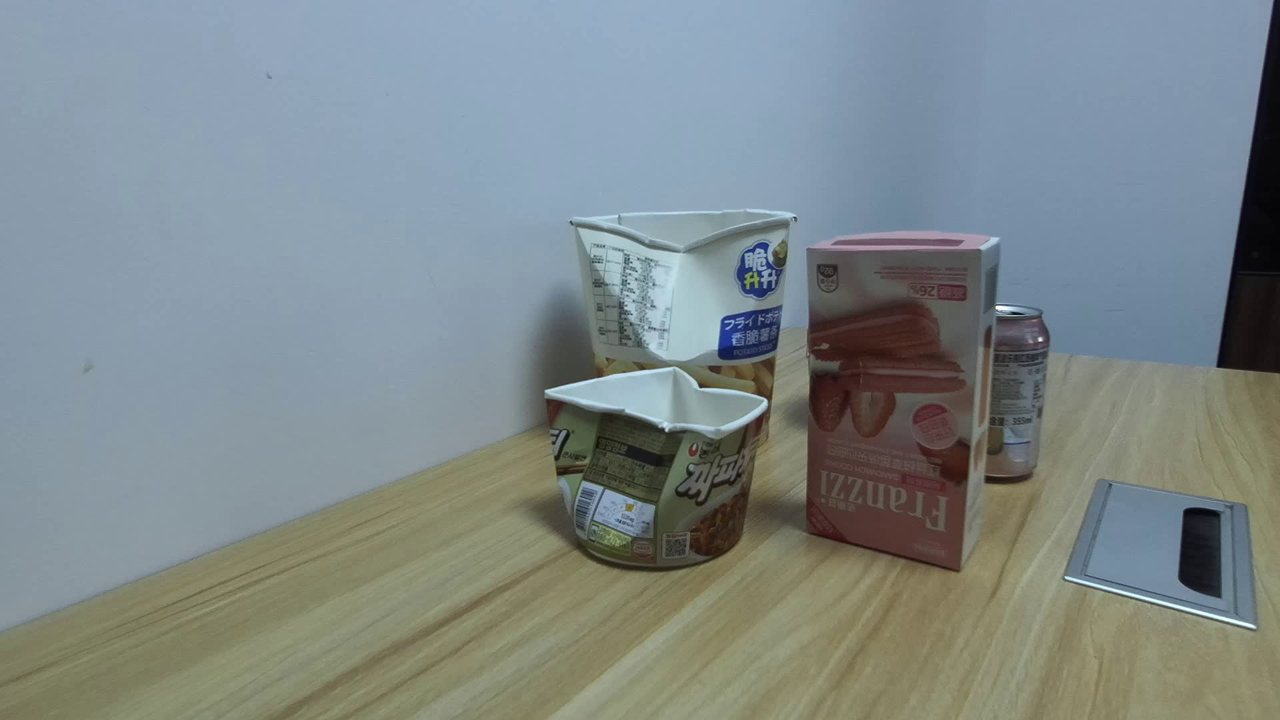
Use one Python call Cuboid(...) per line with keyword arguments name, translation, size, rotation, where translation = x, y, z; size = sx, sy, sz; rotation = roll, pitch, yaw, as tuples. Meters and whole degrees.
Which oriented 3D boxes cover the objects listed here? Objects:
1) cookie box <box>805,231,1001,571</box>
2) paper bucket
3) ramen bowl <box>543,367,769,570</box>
Cuboid(name="cookie box", translation=(0.148, 0.020, 0.419), size=(0.104, 0.187, 0.049), rotation=(8, 19, 35))
Cuboid(name="paper bucket", translation=(0.029, -0.027, 0.612), size=(0.163, 0.202, 0.168), rotation=(-8, 13, -12))
Cuboid(name="ramen bowl", translation=(0.014, 0.066, 0.447), size=(0.112, 0.093, 0.127), rotation=(-11, 17, -29))
